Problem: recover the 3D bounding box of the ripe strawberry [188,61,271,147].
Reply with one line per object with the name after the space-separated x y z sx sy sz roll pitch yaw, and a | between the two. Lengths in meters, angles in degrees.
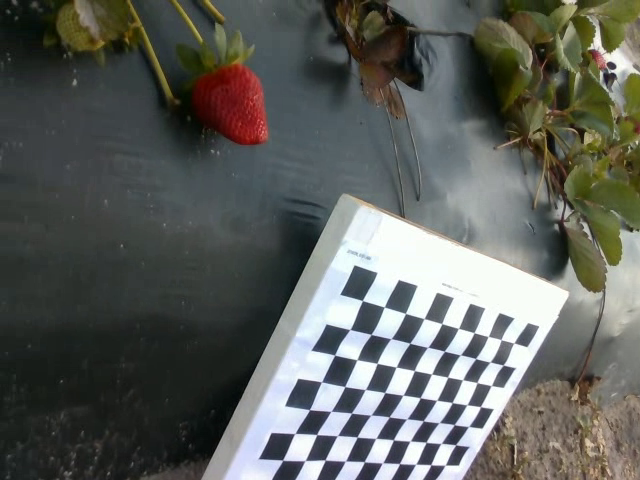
-0.046 -0.071 0.333 0.045 0.055 0.042 -31 -26 -14 | ripe strawberry
